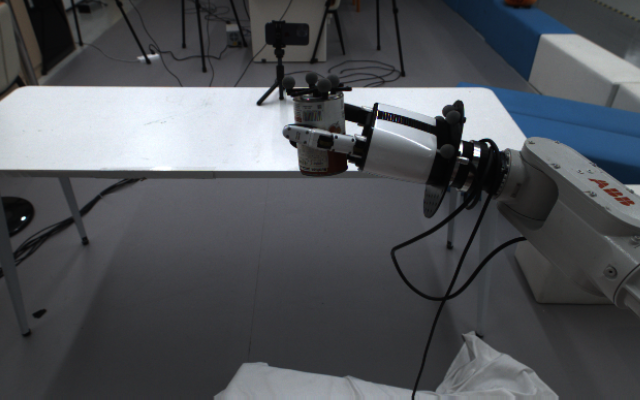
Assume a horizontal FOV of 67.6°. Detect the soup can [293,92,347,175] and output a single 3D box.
[{"bbox_3d":[0.003,-0.089,0.642,0.067,0.101,0.067,-4,21,1],"label":"soup can"}]
